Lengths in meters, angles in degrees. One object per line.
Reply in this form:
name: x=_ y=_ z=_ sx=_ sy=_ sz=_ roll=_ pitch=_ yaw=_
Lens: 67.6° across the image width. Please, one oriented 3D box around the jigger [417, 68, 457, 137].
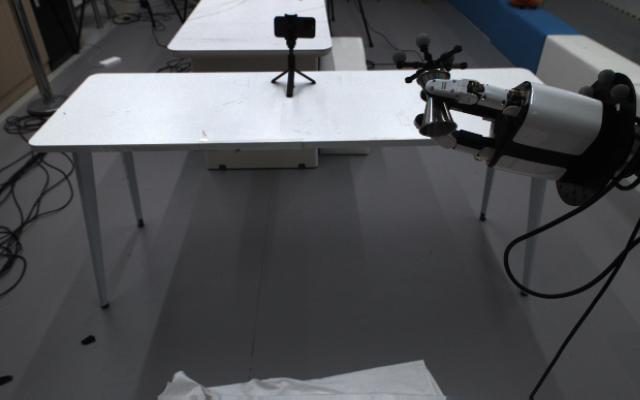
jigger: x=0.138 y=-0.117 z=0.576 sx=0.043 sy=0.043 sz=0.071 roll=0 pitch=75 yaw=-3
